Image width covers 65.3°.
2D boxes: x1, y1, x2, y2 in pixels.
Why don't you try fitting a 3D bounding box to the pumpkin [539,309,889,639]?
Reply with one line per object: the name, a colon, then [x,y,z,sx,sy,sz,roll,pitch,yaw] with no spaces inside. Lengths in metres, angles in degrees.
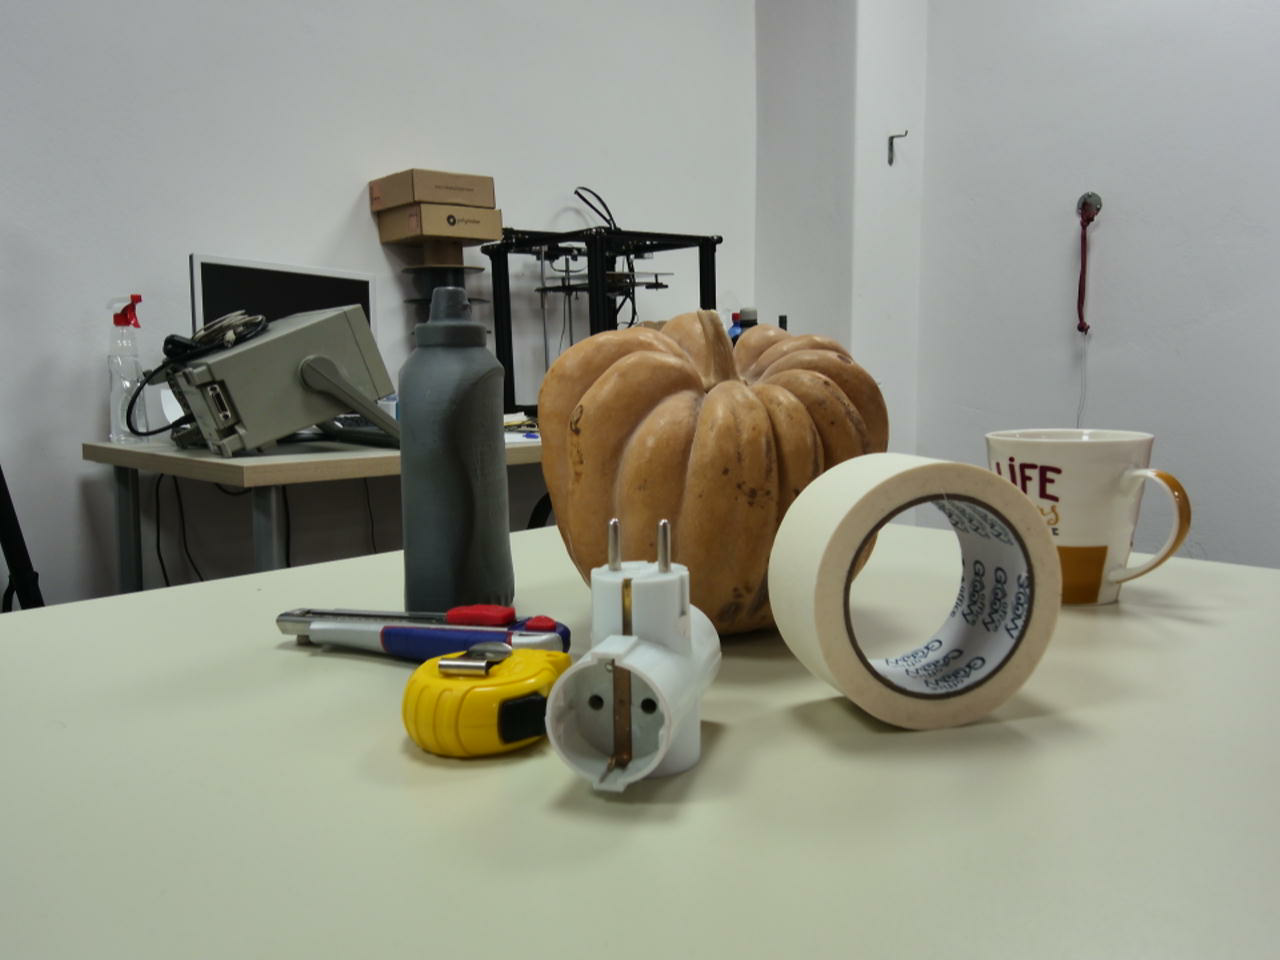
pumpkin: [0.039,-0.004,0.557,0.199,0.177,0.198,0,5,0]
